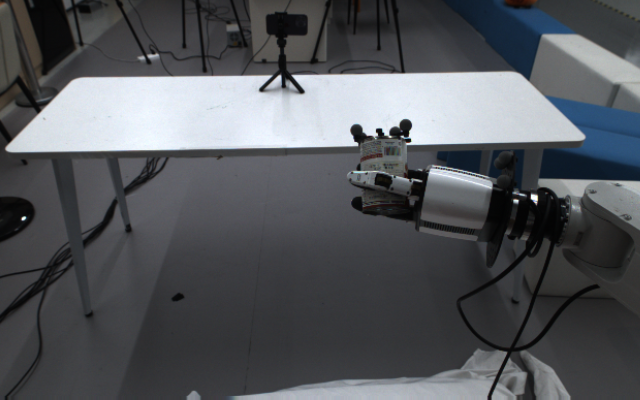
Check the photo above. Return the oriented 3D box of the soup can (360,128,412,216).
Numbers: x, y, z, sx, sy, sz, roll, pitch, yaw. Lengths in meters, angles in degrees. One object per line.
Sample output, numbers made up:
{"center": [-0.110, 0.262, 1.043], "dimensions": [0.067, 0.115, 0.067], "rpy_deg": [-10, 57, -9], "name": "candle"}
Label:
{"center": [0.092, -0.033, 0.682], "dimensions": [0.067, 0.101, 0.067], "rpy_deg": [-1, -9, 0], "name": "soup can"}
